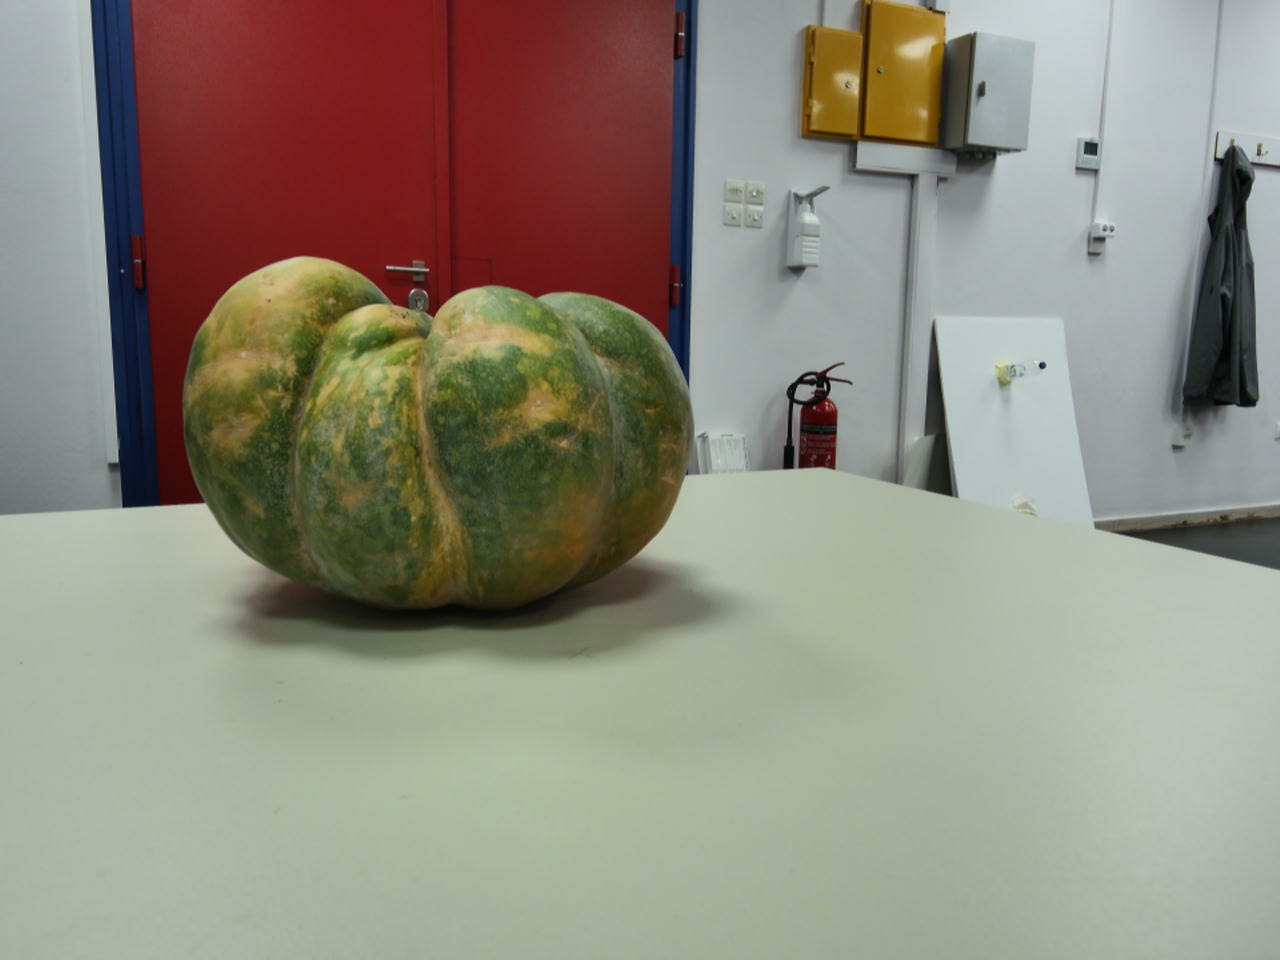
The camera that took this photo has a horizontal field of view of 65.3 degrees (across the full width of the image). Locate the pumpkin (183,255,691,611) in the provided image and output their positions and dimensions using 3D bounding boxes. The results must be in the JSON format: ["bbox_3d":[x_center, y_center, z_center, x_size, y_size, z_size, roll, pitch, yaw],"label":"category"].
[{"bbox_3d":[-0.105,-0.024,0.533,0.270,0.173,0.237,1,7,12],"label":"pumpkin"}]
